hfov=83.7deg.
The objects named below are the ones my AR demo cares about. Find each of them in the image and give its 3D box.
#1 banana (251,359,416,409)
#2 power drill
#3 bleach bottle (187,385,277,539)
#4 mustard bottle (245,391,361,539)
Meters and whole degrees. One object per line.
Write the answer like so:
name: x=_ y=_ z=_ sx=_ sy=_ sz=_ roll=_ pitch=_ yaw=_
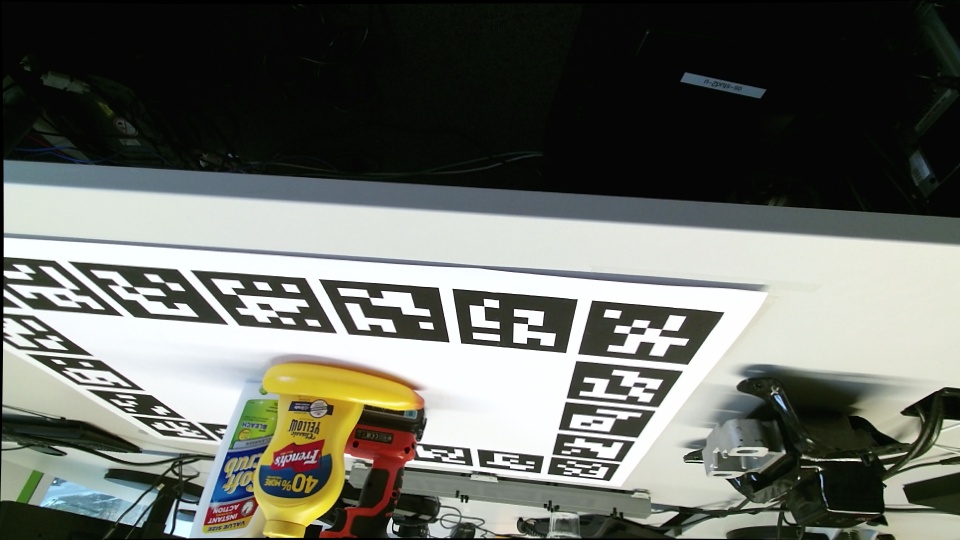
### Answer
banana: x=-0.172 y=0.133 z=0.614 sx=0.198 sy=0.038 sz=0.074 roll=5 pitch=142 yaw=0
power drill: x=-0.162 y=0.279 z=0.630 sx=0.185 sy=0.186 sz=0.057 roll=13 pitch=144 yaw=-4
bleach bottle: x=-0.273 y=0.266 z=0.627 sx=0.103 sy=0.249 sz=0.068 roll=6 pitch=149 yaw=3
mustard bottle: x=-0.201 y=0.217 z=0.589 sx=0.096 sy=0.190 sz=0.058 roll=5 pitch=143 yaw=5
